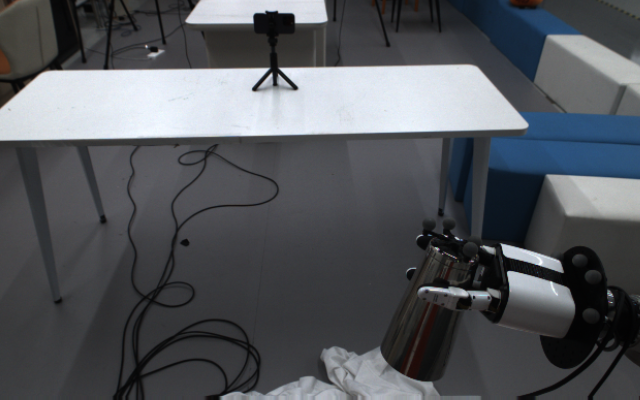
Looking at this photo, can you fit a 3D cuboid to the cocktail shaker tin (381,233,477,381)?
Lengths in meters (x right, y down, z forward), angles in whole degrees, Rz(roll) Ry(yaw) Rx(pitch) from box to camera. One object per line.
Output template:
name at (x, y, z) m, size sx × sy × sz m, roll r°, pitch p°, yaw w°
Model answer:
cocktail shaker tin at (0.150, 0.136, 0.641) m, size 0.093 × 0.170 × 0.093 m, roll 14°, pitch 18°, yaw -5°
